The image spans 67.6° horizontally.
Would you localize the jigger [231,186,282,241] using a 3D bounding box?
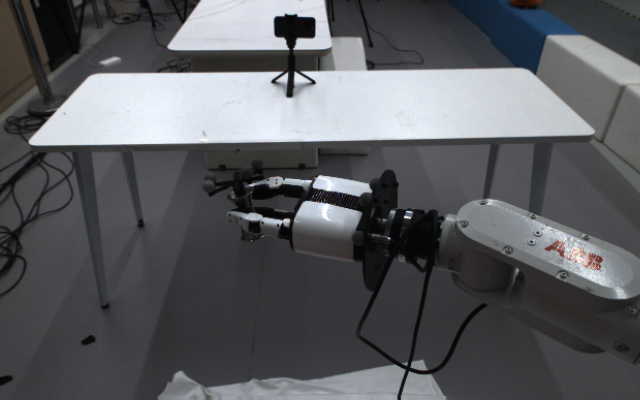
[{"bbox_3d":[-0.101,0.020,0.691,0.043,0.071,0.043,-14,22,6],"label":"jigger"}]
